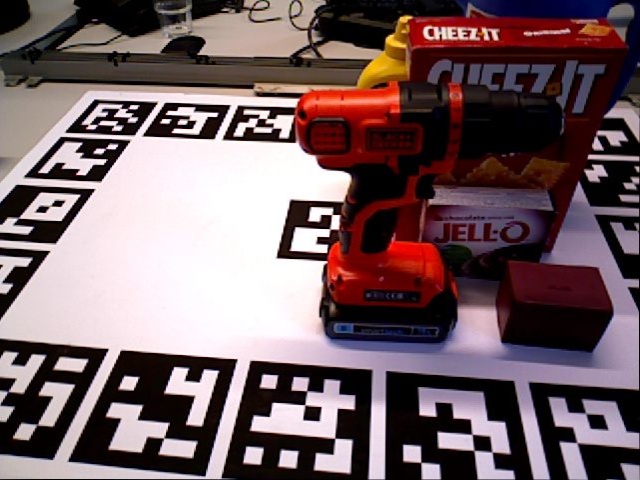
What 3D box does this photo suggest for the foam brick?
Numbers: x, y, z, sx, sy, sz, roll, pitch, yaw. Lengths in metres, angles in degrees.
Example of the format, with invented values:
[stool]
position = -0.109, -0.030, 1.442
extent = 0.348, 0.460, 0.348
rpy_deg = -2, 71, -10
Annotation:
[foam brick]
position = 0.209, 0.056, 0.453
extent = 0.078, 0.052, 0.051
rpy_deg = 4, 45, 7

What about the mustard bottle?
[mustard bottle]
position = 0.092, -0.153, 0.566
extent = 0.096, 0.195, 0.057
rpy_deg = 12, 45, 15

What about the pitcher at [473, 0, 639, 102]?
[pitcher]
position = 0.223, -0.156, 0.545
extent = 0.189, 0.247, 0.130
rpy_deg = 6, 43, 11

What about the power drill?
[power drill]
position = 0.089, -0.028, 0.397
extent = 0.184, 0.191, 0.056
rpy_deg = 3, 39, 4

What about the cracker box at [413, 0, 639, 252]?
[cracker box]
position = 0.168, -0.087, 0.480
extent = 0.164, 0.218, 0.070
rpy_deg = 0, 41, 6

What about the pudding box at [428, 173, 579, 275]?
[pudding box]
position = 0.157, -0.014, 0.483
extent = 0.114, 0.092, 0.038
rpy_deg = 1, 41, 8
